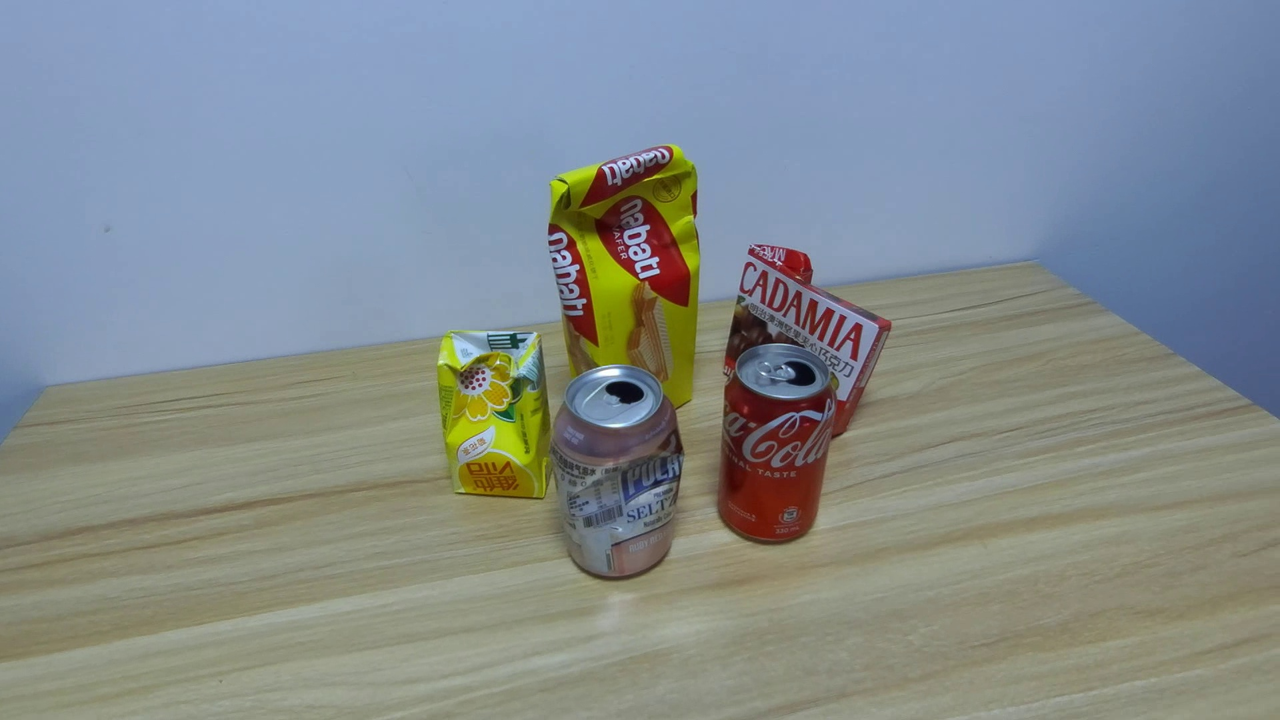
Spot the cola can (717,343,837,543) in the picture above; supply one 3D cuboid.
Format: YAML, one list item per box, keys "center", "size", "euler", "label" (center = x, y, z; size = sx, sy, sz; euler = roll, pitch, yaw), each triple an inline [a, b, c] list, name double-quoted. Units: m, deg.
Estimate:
- center: [0.084, 0.052, 0.442]
  size: [0.068, 0.120, 0.067]
  euler: [0, 35, 1]
  label: "cola can"

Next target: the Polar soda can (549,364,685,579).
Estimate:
- center: [-0.011, 0.068, 0.420]
  size: [0.074, 0.122, 0.067]
  euler: [3, 35, 7]
  label: "Polar soda can"

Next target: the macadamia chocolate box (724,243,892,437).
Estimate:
- center: [0.125, -0.017, 0.545]
  size: [0.056, 0.112, 0.126]
  euler: [-20, 39, -28]
  label: "macadamia chocolate box"

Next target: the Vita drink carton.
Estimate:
- center: [-0.099, 0.039, 0.480]
  size: [0.071, 0.110, 0.046]
  euler: [2, 31, 5]
  label: "Vita drink carton"

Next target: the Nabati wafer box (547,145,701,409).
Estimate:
- center: [-0.005, -0.041, 0.503]
  size: [0.113, 0.205, 0.042]
  euler: [-28, 41, -31]
  label: "Nabati wafer box"
